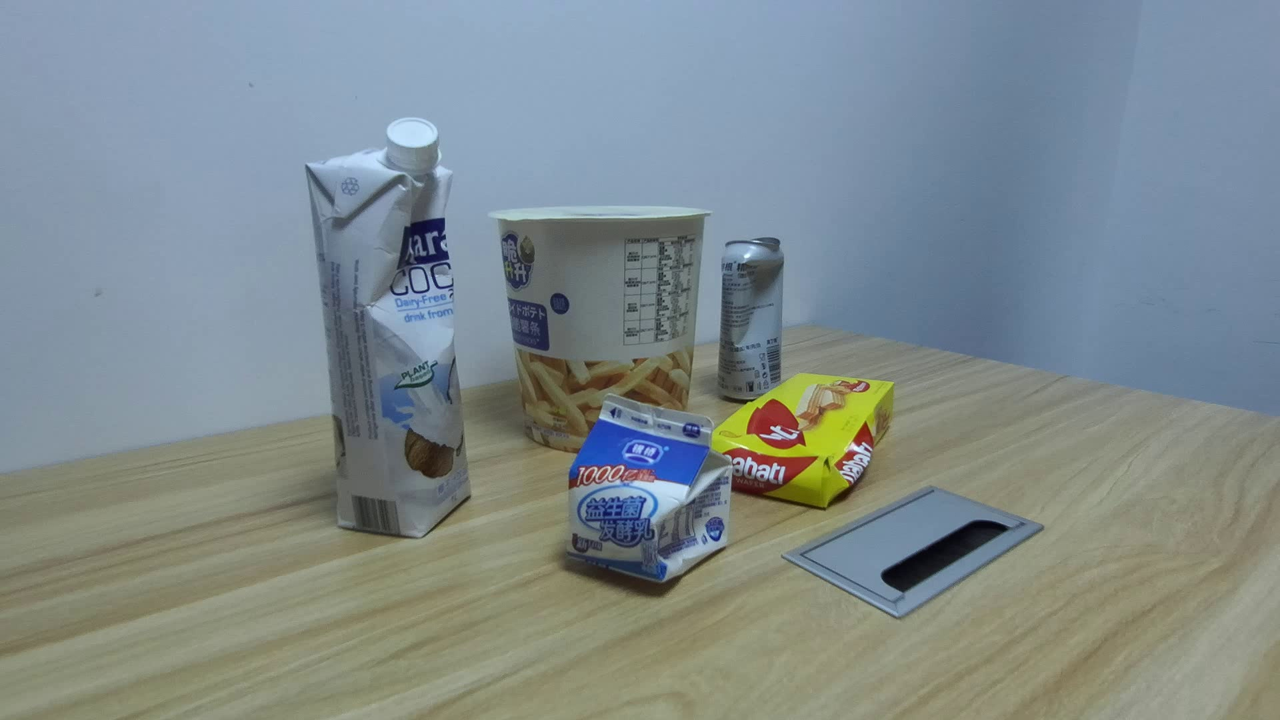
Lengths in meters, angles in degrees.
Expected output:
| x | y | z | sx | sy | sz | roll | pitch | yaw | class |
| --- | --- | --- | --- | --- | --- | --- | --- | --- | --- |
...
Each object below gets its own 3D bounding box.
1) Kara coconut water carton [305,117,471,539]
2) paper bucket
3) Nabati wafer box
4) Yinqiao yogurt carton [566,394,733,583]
| x | y | z | sx | sy | sz | roll | pitch | yaw | class |
| --- | --- | --- | --- | --- | --- | --- | --- | --- | --- |
| -0.157 | -0.018 | 0.449 | 0.078 | 0.255 | 0.083 | 9 | 17 | 27 | Kara coconut water carton |
| -0.030 | -0.033 | 0.627 | 0.198 | 0.194 | 0.198 | 0 | 14 | 0 | paper bucket |
| 0.140 | 0.059 | 0.576 | 0.106 | 0.042 | 0.205 | 7 | 18 | 32 | Nabati wafer box |
| 0.007 | 0.071 | 0.410 | 0.074 | 0.097 | 0.080 | 7 | 9 | 27 | Yinqiao yogurt carton |
